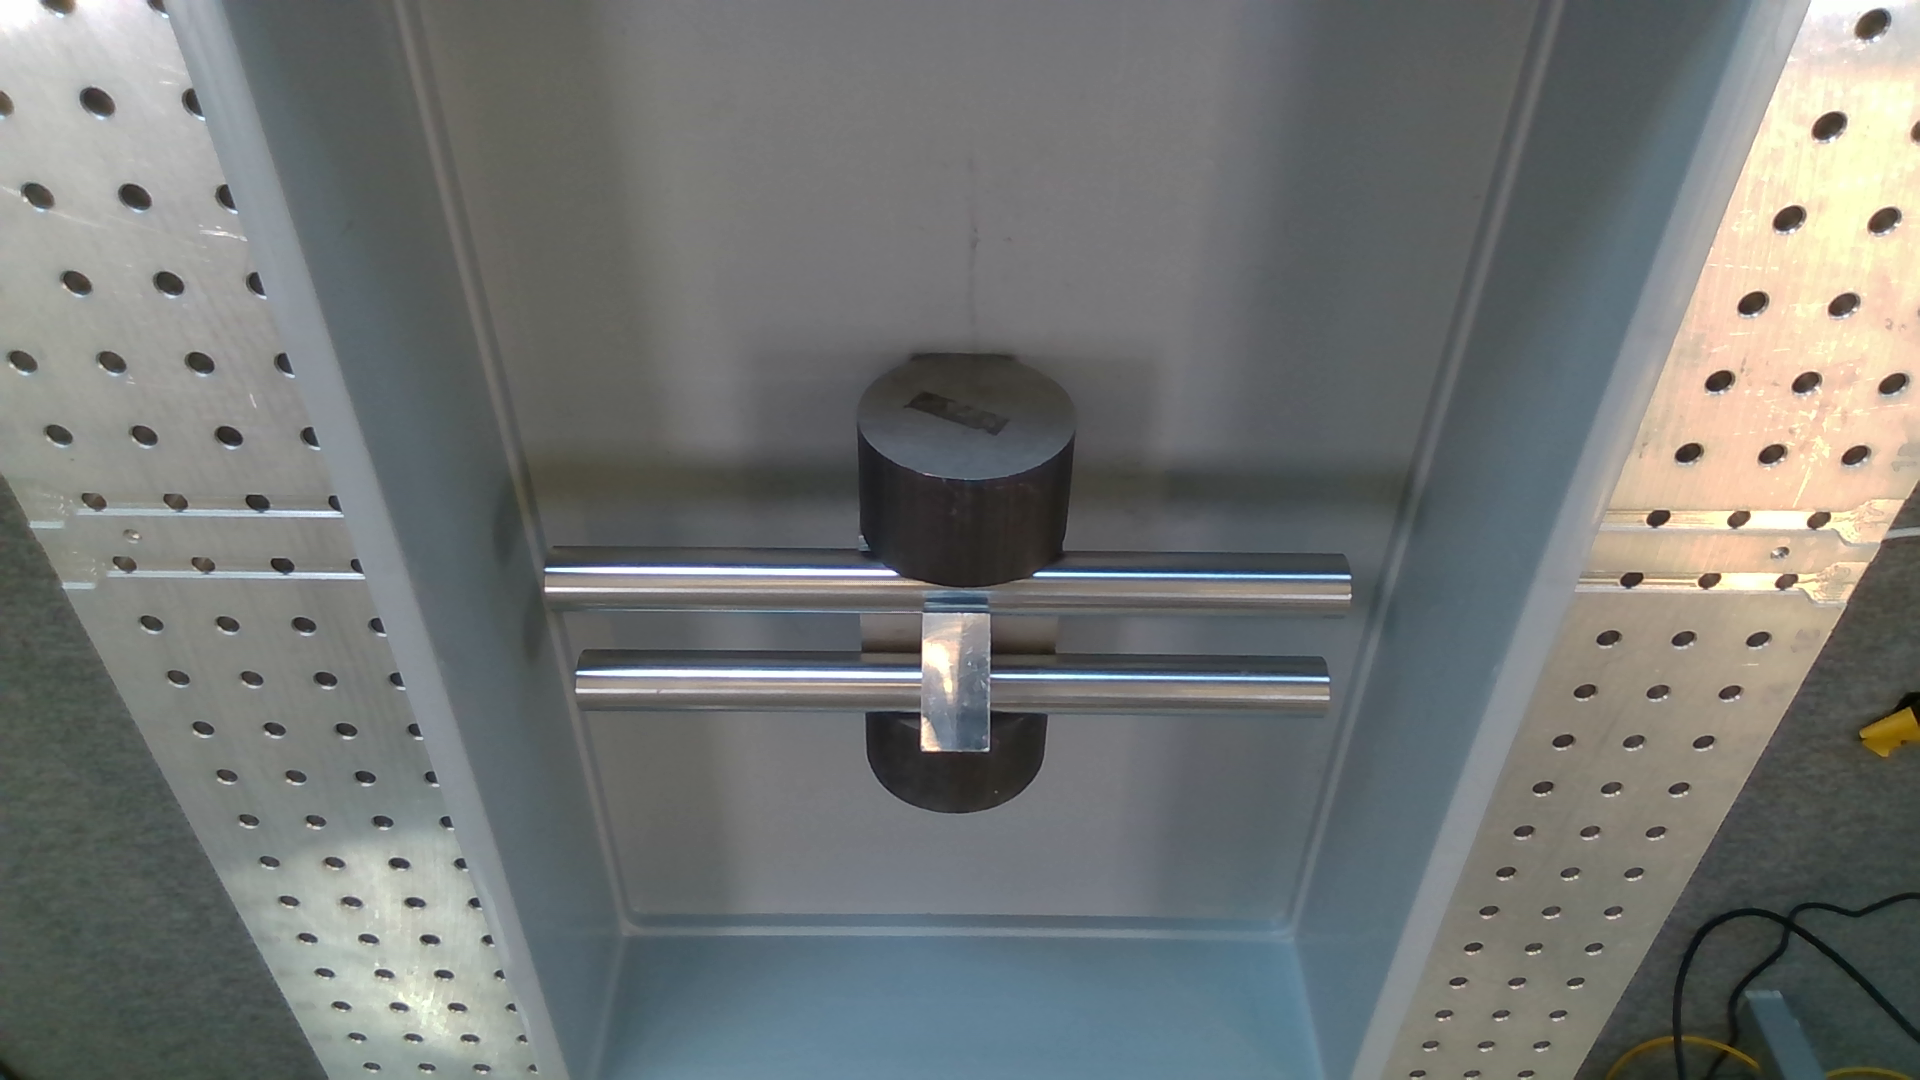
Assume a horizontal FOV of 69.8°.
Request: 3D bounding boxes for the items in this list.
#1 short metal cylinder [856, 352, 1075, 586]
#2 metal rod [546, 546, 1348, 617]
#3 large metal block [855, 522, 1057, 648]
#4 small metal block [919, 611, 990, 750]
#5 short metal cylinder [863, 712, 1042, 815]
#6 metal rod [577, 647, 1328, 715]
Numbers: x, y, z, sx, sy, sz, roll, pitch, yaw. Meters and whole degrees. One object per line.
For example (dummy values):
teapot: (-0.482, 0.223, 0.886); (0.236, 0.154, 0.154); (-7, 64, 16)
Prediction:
short metal cylinder: (0.002, -0.028, 0.519); (0.080, 0.080, 0.050); (1, 130, -1)
metal rod: (-0.005, 0.016, 0.527); (0.300, 0.025, 0.025); (1, 130, 0)
large metal block: (-0.001, 0.013, 0.573); (0.080, 0.050, 0.080); (1, 130, 0)
small metal block: (-0.002, 0.053, 0.525); (0.025, 0.050, 0.050); (1, 86, 0)
short metal cylinder: (-0.002, 0.073, 0.603); (0.080, 0.080, 0.050); (1, 129, 0)
metal rod: (-0.003, 0.058, 0.563); (0.300, 0.025, 0.025); (1, 130, 0)
